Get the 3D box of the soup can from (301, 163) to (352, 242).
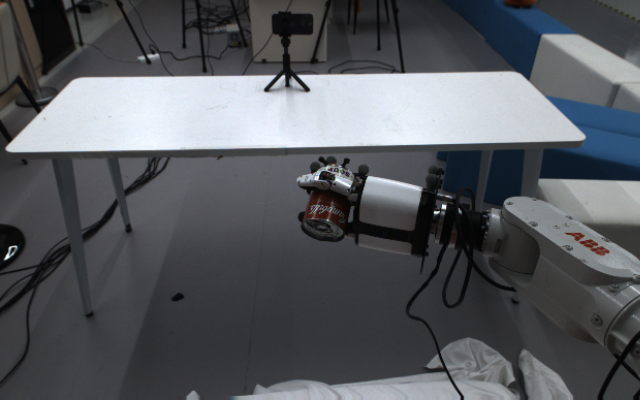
[{"bbox_3d":[0.015,0.003,0.738,0.067,0.067,0.101,9,58,10],"label":"soup can"}]
